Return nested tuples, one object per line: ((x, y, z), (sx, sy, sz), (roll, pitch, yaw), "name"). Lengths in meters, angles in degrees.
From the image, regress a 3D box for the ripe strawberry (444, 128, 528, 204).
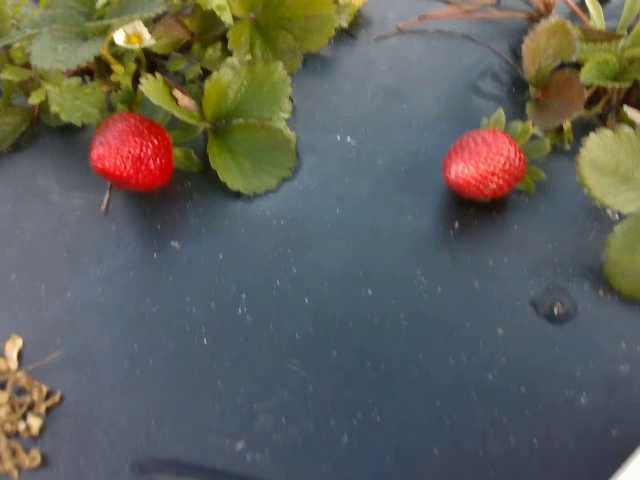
((0.066, -0.030, 0.307), (0.052, 0.045, 0.041), (-21, -12, -44), "ripe strawberry")

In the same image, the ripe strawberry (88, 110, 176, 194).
((-0.090, -0.038, 0.324), (0.050, 0.046, 0.050), (38, 14, 8), "ripe strawberry")
